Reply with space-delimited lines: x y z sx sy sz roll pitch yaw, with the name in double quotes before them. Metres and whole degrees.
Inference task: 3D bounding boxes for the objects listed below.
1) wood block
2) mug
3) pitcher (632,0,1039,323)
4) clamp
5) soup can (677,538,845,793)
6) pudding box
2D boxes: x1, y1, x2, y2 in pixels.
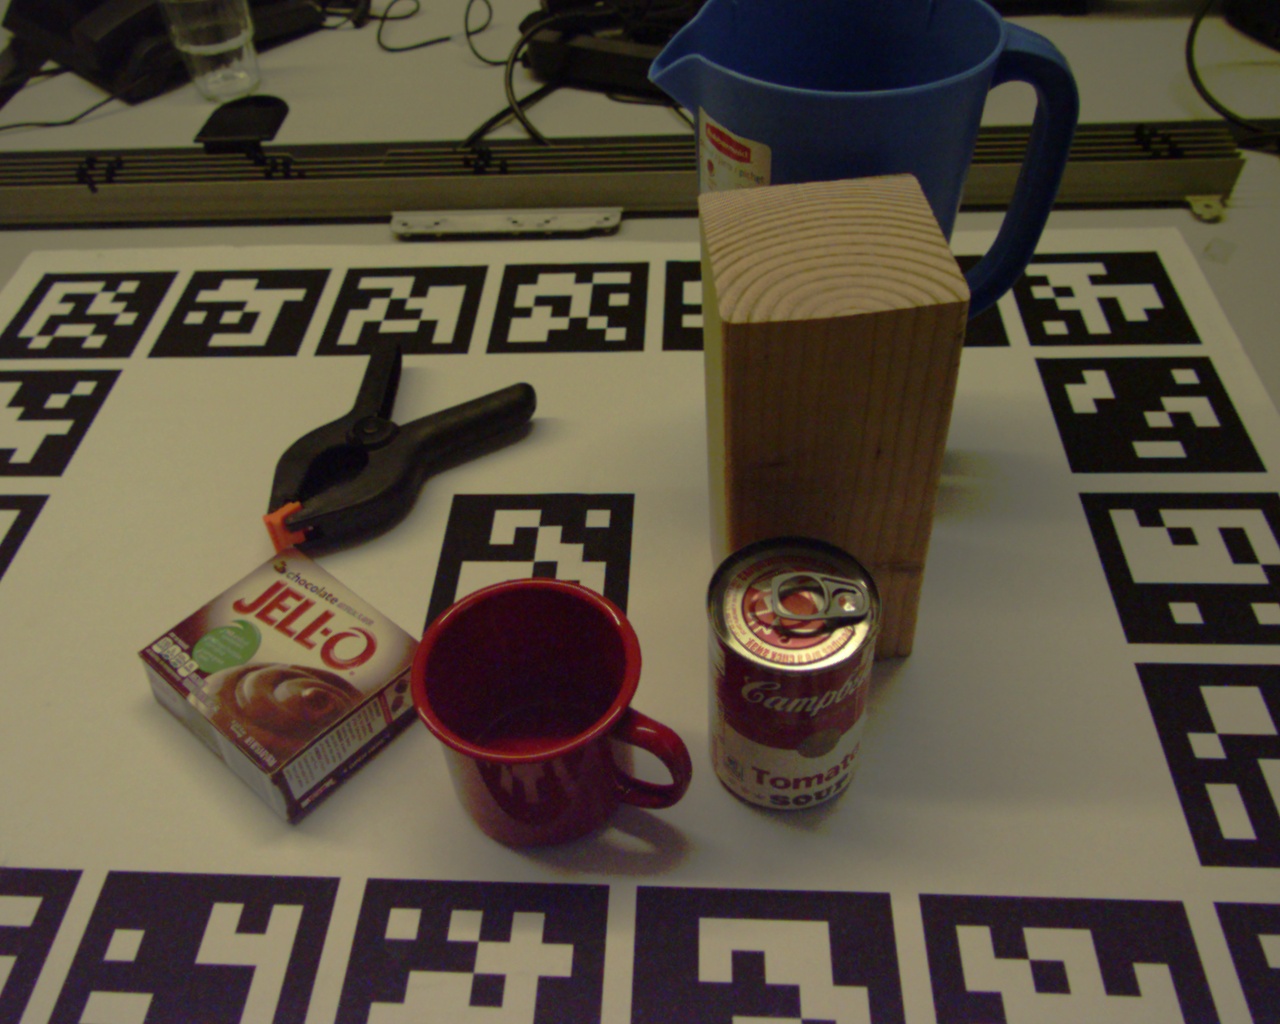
"wood block" 0.071 -0.031 0.525 0.090 0.205 0.091 0 45 0
"mug" -0.041 0.092 0.504 0.118 0.081 0.092 27 51 30
"pitcher" 0.100 -0.129 0.597 0.189 0.241 0.133 -3 43 6
"clamp" -0.150 -0.036 0.683 0.123 0.036 0.164 26 54 19
"soup can" 0.052 0.070 0.501 0.068 0.101 0.068 -3 48 2
"pudding box" -0.179 0.076 0.568 0.115 0.038 0.089 29 58 30
